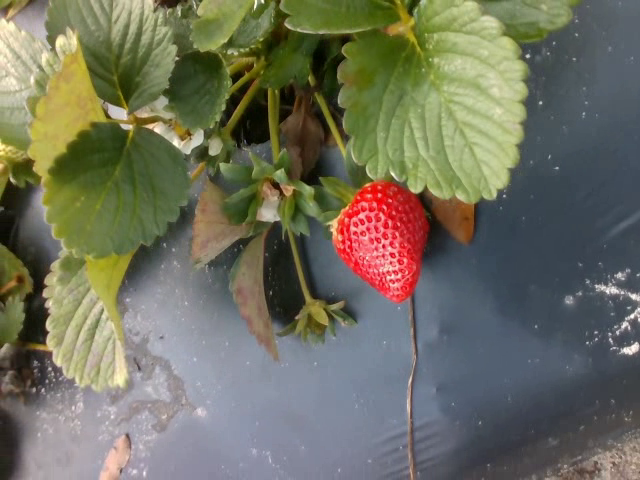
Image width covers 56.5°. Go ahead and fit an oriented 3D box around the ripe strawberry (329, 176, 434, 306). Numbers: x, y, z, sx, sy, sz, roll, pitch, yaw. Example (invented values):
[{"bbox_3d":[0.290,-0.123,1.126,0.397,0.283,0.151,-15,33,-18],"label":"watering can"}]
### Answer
[{"bbox_3d":[0.028,0.006,0.254,0.050,0.053,0.049,-33,-38,20],"label":"ripe strawberry"}]
